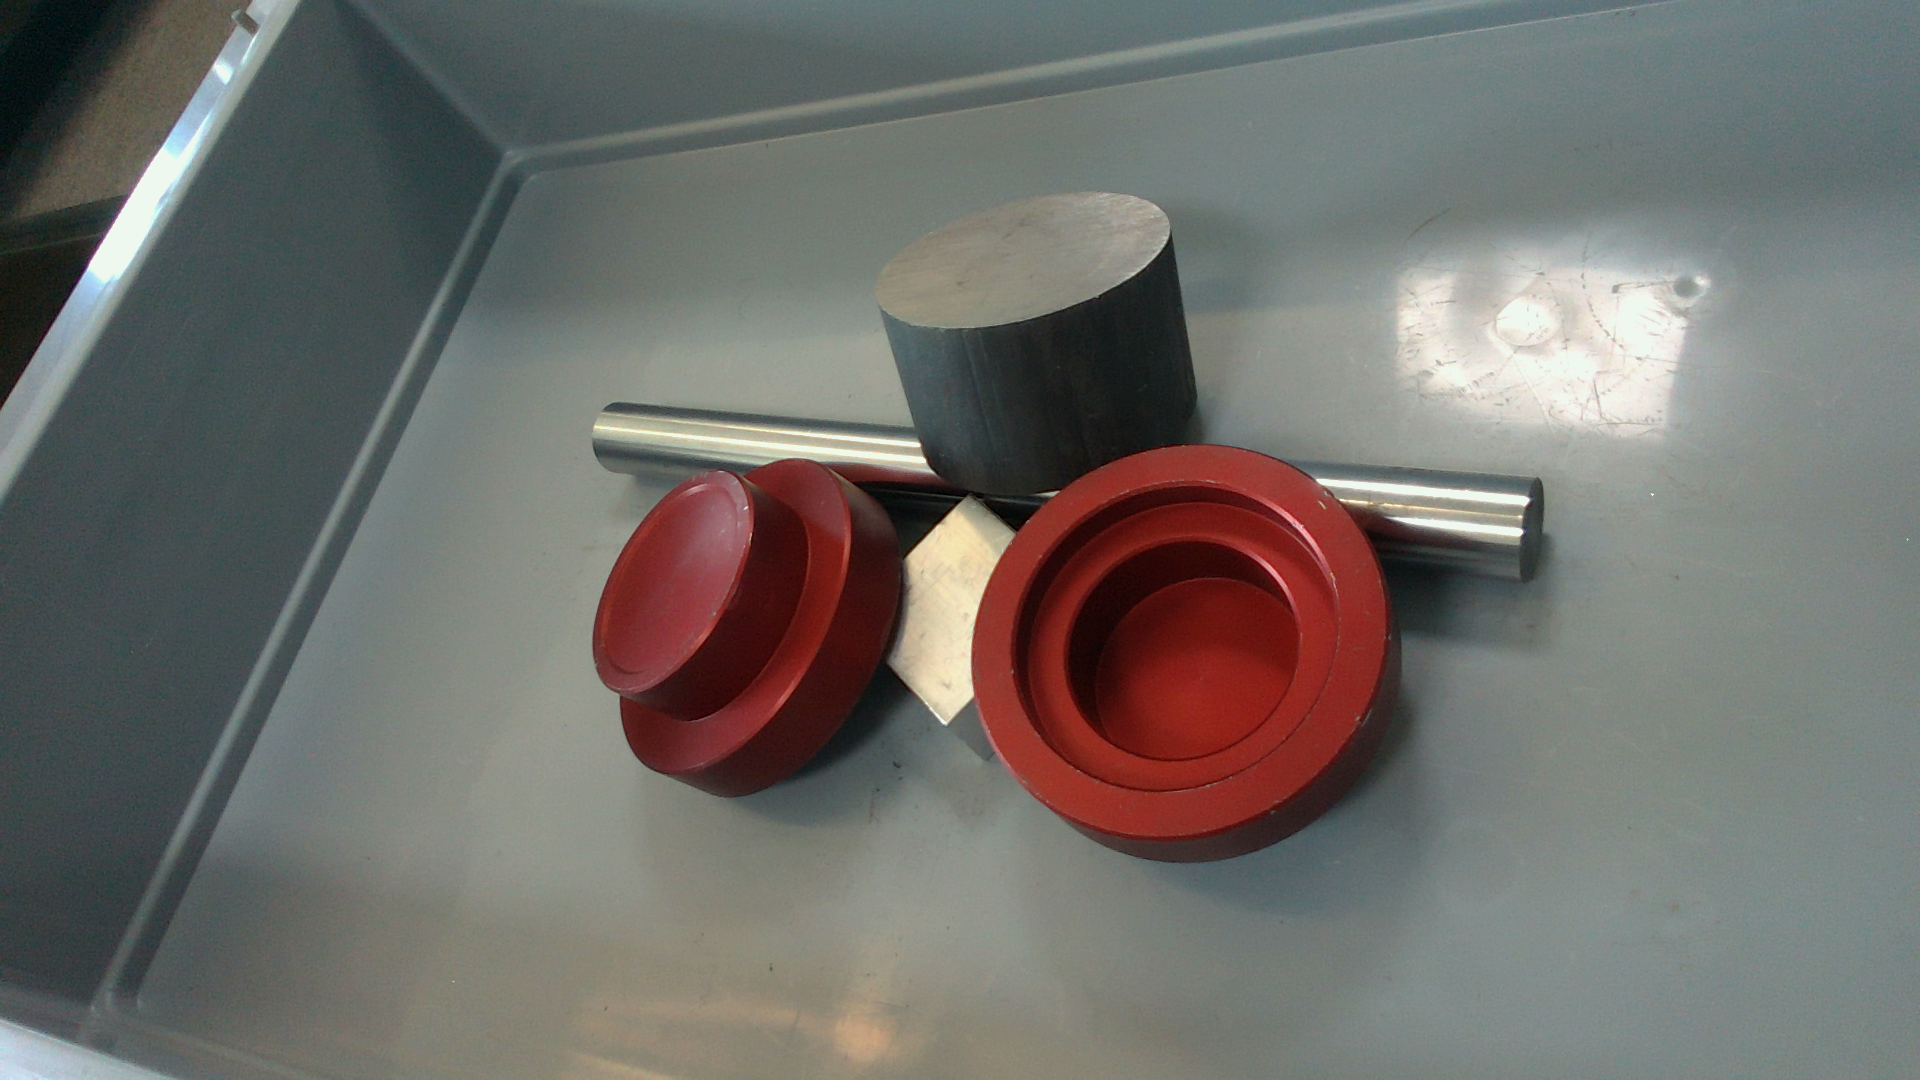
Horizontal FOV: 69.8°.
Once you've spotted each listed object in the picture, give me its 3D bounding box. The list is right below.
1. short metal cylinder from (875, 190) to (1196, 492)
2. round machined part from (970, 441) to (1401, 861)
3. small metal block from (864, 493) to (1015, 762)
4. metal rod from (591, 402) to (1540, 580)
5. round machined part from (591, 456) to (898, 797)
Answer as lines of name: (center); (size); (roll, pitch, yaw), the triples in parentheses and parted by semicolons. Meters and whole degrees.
short metal cylinder: (0.022, -0.056, 0.380); (0.080, 0.050, 0.080); (-11, 33, 8)
round machined part: (0.055, 0.029, 0.331); (0.098, 0.042, 0.098); (-11, 60, 20)
small metal block: (0.005, 0.023, 0.375); (0.050, 0.025, 0.050); (-45, 51, -3)
metal rod: (0.007, -0.020, 0.400); (0.299, 0.025, 0.025); (7, 65, 32)
round machined part: (-0.067, 0.019, 0.389); (0.098, 0.042, 0.098); (-28, 45, 33)
